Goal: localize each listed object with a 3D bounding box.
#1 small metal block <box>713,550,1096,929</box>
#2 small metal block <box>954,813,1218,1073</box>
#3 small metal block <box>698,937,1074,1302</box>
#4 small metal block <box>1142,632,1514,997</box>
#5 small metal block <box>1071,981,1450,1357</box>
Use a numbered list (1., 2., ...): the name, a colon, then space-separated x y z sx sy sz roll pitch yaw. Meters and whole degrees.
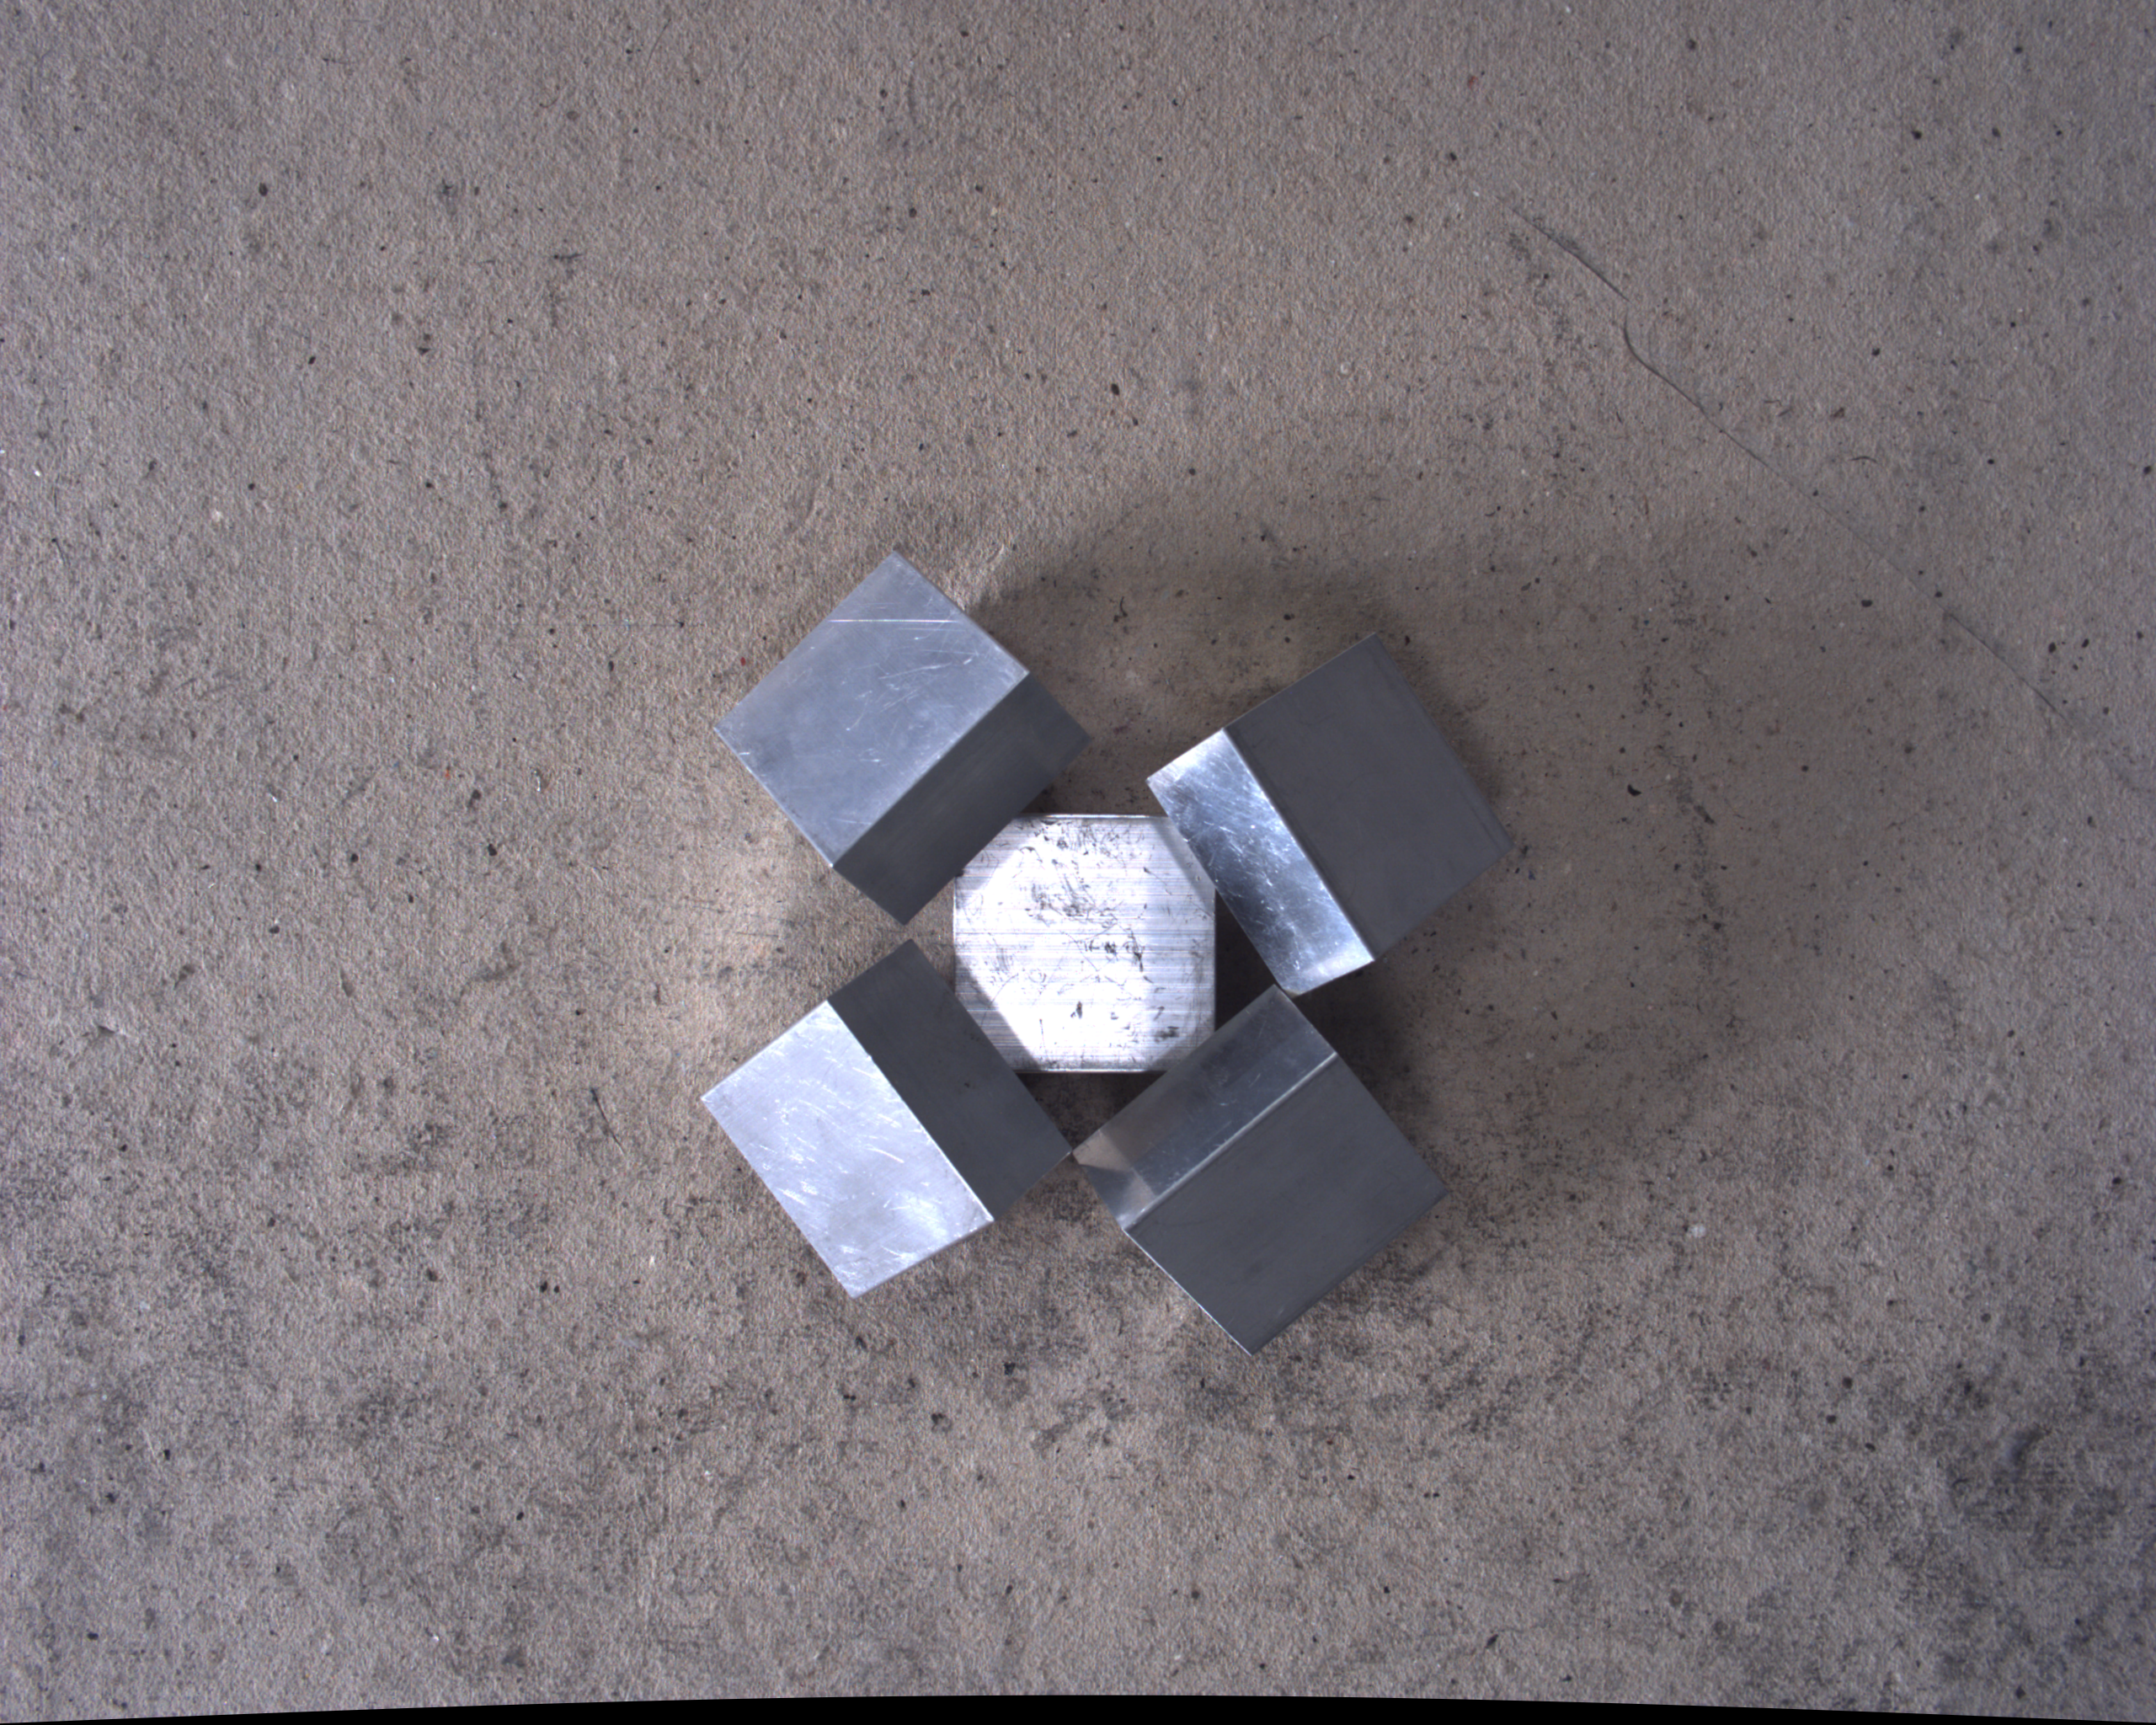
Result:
1. small metal block: -0.034 -0.024 0.398 0.050 0.025 0.050 -45 49 -1
2. small metal block: 0.001 0.015 0.411 0.050 0.025 0.050 0 90 -2
3. small metal block: -0.037 0.050 0.398 0.050 0.025 0.050 53 134 0
4. small metal block: 0.049 -0.009 0.399 0.050 0.025 0.050 -34 91 -41
5. small metal block: 0.035 0.059 0.399 0.050 0.025 0.050 -40 128 0
